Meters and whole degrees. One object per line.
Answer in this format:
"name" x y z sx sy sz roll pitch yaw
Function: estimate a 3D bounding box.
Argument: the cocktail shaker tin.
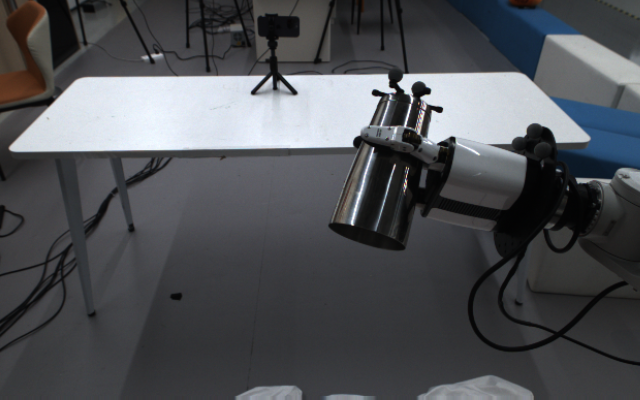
"cocktail shaker tin" 0.080 -0.035 0.570 0.093 0.093 0.170 14 76 17
